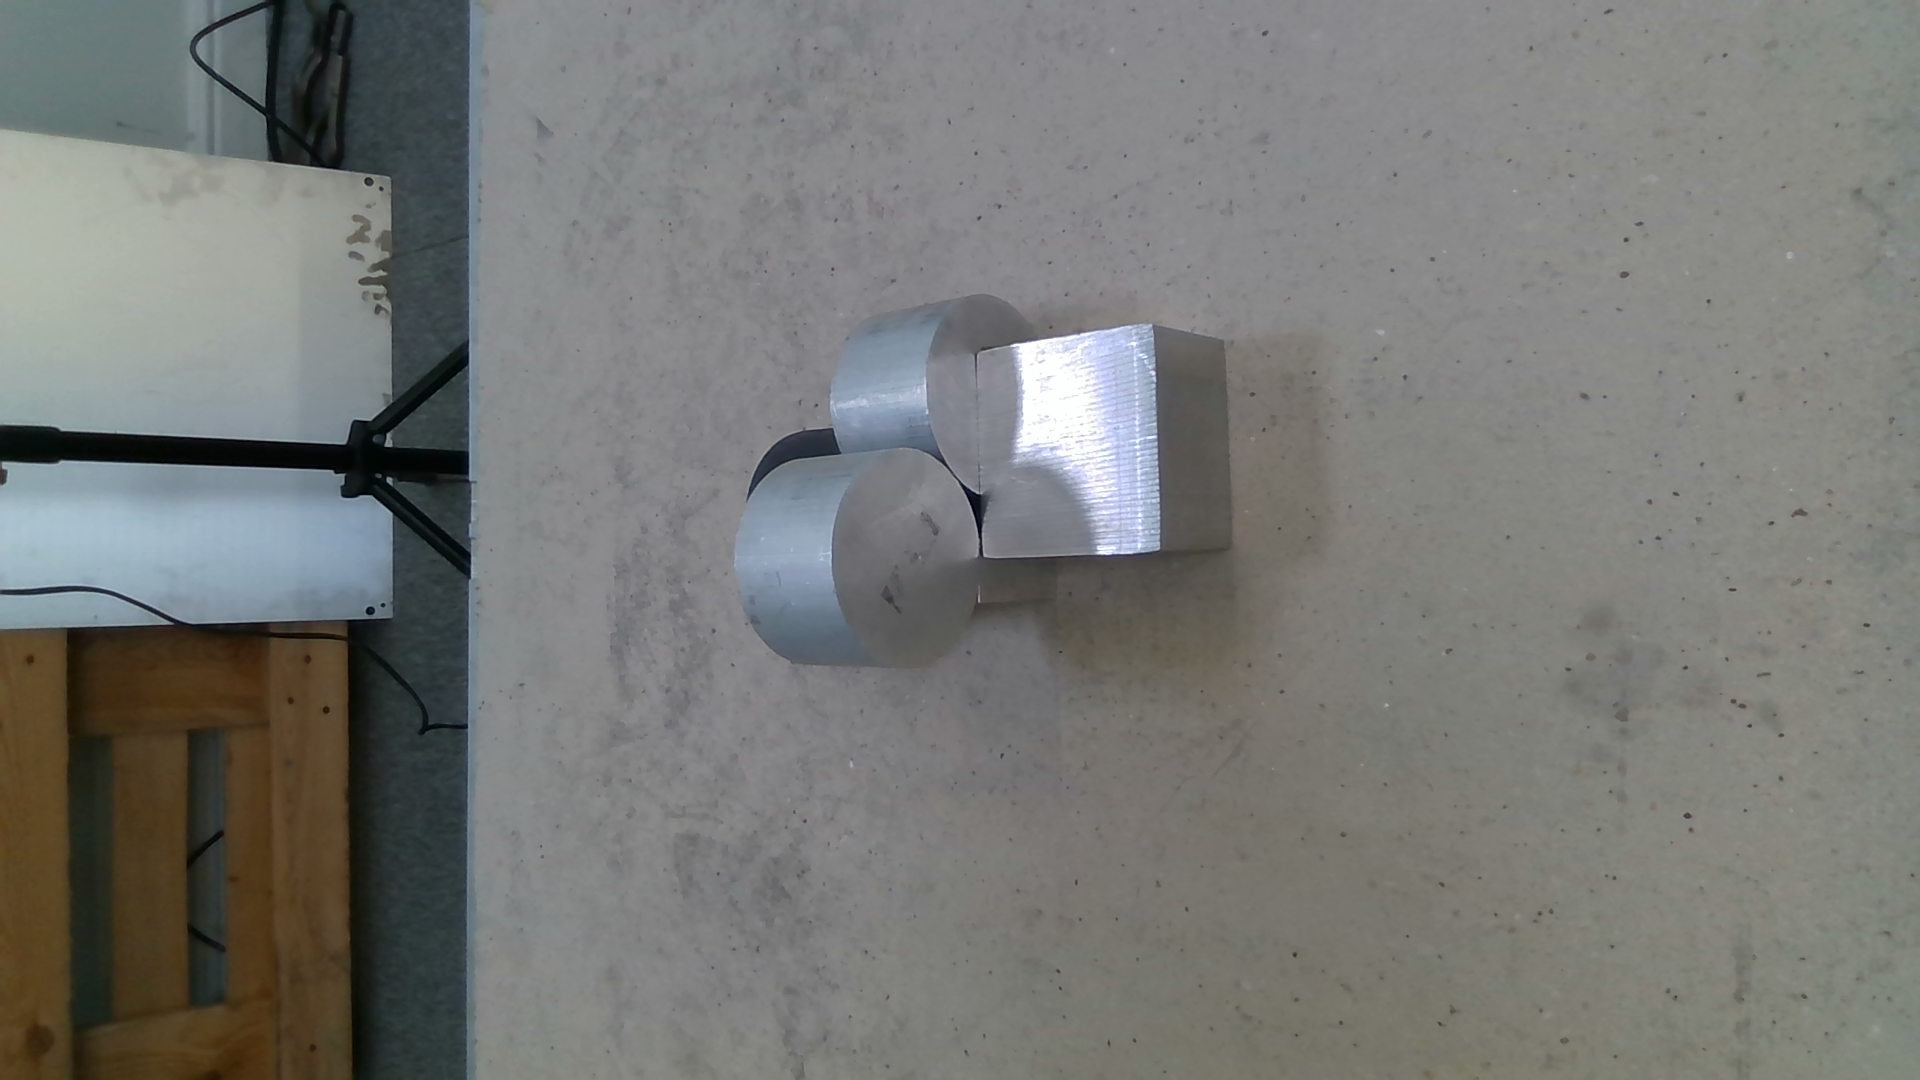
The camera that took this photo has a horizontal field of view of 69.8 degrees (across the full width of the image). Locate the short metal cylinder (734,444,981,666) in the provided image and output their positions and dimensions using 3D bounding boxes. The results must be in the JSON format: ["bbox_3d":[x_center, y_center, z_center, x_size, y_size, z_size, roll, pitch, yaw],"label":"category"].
[{"bbox_3d":[-0.037,0.006,0.513,0.050,0.080,0.080,-3,89,40],"label":"short metal cylinder"}]

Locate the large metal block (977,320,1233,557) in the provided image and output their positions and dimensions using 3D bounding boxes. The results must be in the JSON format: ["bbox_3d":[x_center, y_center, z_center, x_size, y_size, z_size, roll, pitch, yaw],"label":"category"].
[{"bbox_3d":[0.054,-0.035,0.521,0.080,0.050,0.080,-2,89,40],"label":"large metal block"}]

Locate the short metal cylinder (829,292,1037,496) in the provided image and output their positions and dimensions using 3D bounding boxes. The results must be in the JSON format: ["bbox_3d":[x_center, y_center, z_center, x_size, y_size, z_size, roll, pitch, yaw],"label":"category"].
[{"bbox_3d":[-0.006,-0.055,0.552,0.050,0.080,0.080,-3,89,40],"label":"short metal cylinder"}]

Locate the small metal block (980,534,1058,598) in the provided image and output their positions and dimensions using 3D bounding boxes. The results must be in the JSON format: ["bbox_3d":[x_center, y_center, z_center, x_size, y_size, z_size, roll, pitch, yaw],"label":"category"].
[{"bbox_3d":[0.005,0.010,0.565,0.050,0.050,0.025,1,91,40],"label":"small metal block"}]

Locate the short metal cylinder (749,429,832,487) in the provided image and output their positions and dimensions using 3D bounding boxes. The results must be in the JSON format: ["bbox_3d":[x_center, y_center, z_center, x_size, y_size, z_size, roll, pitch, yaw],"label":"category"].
[{"bbox_3d":[-0.044,-0.009,0.585,0.050,0.080,0.080,0,90,40],"label":"short metal cylinder"}]
